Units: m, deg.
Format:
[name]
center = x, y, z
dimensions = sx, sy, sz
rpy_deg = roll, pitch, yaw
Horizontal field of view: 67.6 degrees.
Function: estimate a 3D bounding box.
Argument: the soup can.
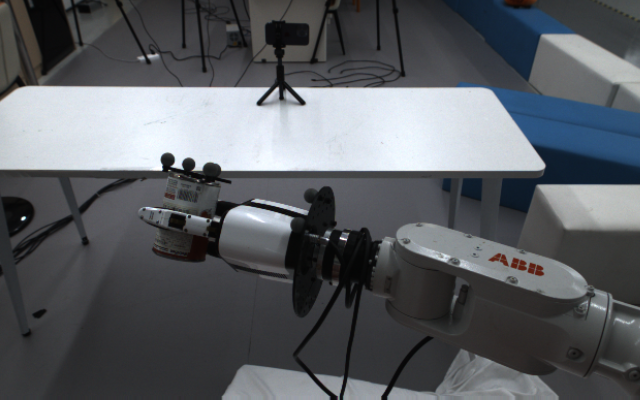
[soup can]
center = -0.169, 0.023, 0.616
dimensions = 0.067, 0.101, 0.067
rpy_deg = 13, 1, 0
